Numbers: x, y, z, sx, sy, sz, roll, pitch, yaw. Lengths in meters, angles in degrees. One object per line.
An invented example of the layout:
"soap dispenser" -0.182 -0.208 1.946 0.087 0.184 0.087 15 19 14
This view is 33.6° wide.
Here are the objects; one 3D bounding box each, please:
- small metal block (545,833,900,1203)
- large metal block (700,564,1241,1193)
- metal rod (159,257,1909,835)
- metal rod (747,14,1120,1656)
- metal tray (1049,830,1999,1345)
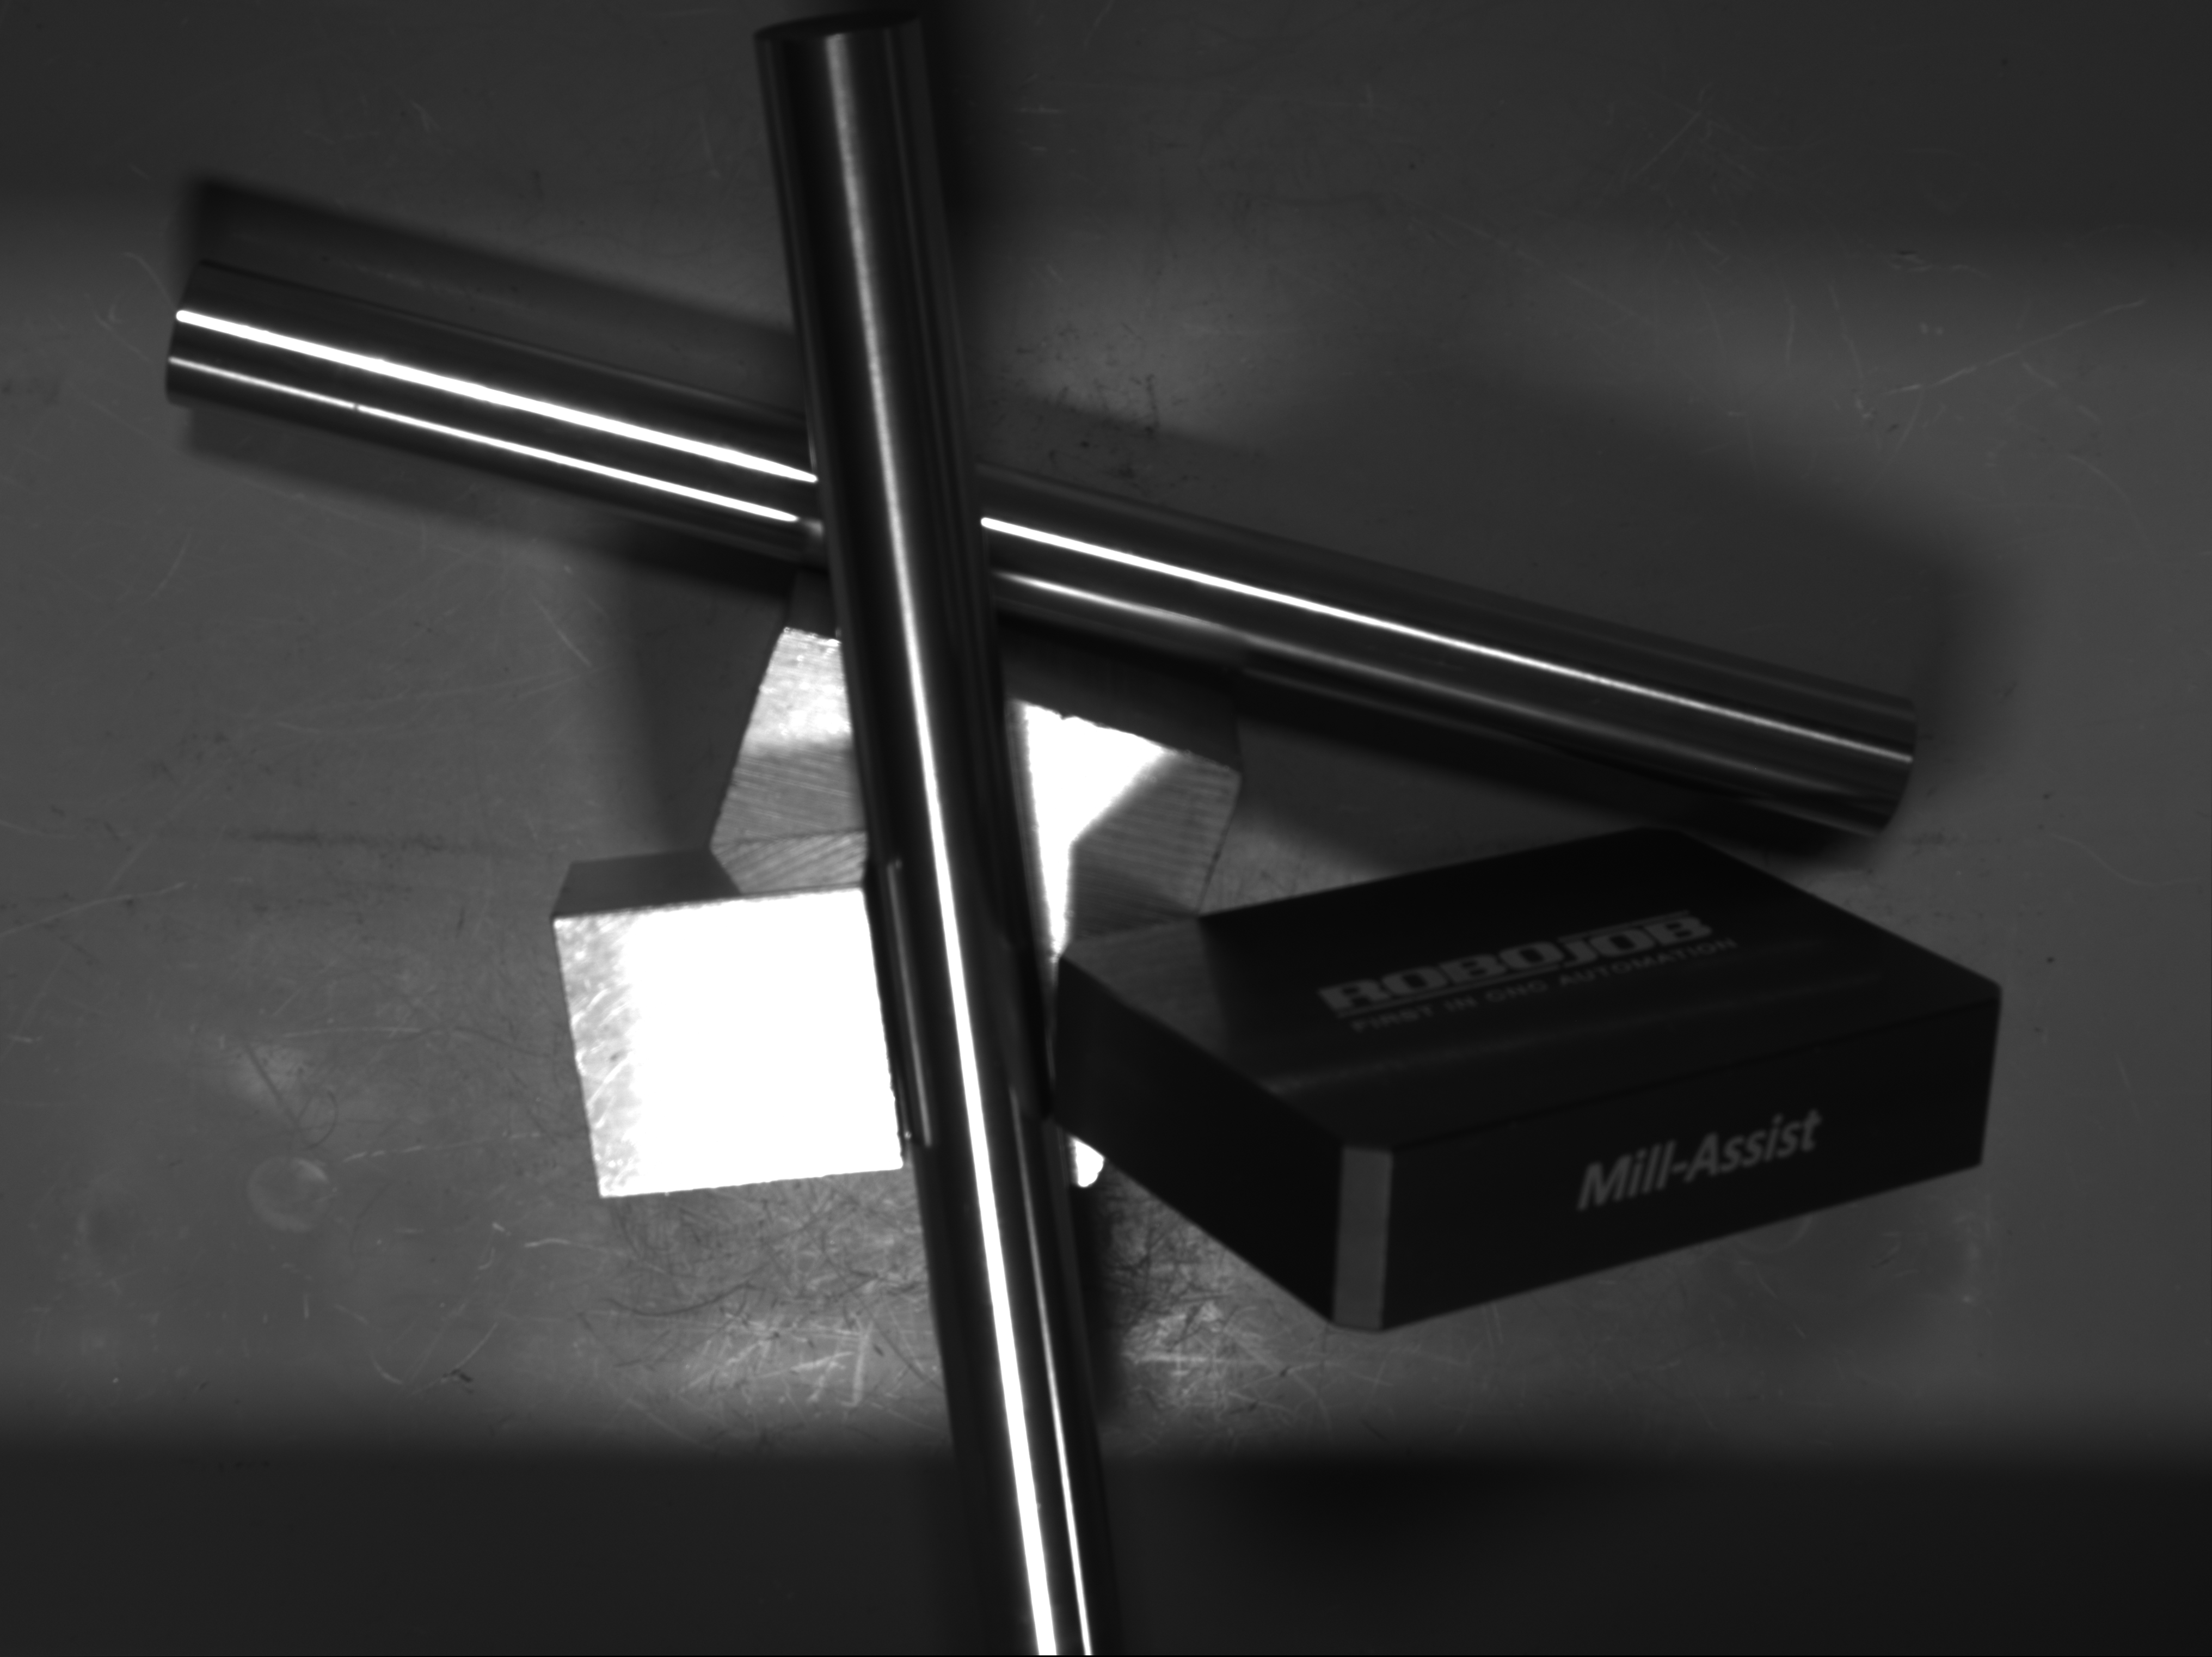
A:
"small metal block" -0.061 0.031 0.599 0.050 0.025 0.050 -6 109 1
"large metal block" -0.029 0.006 0.631 0.080 0.050 0.080 17 109 -7
"metal rod" -0.009 -0.047 0.625 0.300 0.025 0.025 14 109 -6
"metal rod" -0.025 0.020 0.596 0.025 0.025 0.300 -6 110 2
"metal tray" 0.067 0.038 0.594 0.130 0.090 0.030 -11 114 -30
